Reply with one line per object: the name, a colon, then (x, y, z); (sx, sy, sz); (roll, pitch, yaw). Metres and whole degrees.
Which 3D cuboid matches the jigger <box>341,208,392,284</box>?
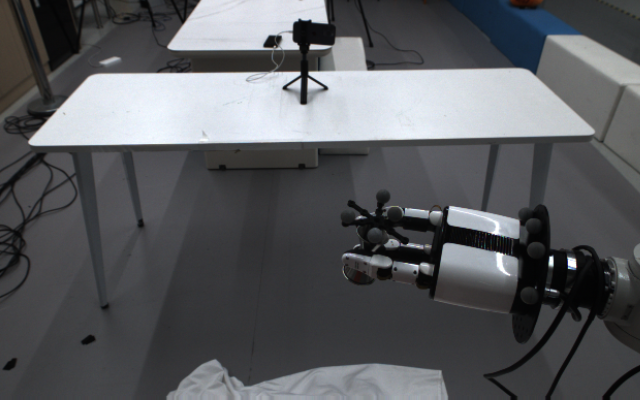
jigger: (0.056, 0.065, 0.595); (0.043, 0.071, 0.043); (10, 35, -7)
